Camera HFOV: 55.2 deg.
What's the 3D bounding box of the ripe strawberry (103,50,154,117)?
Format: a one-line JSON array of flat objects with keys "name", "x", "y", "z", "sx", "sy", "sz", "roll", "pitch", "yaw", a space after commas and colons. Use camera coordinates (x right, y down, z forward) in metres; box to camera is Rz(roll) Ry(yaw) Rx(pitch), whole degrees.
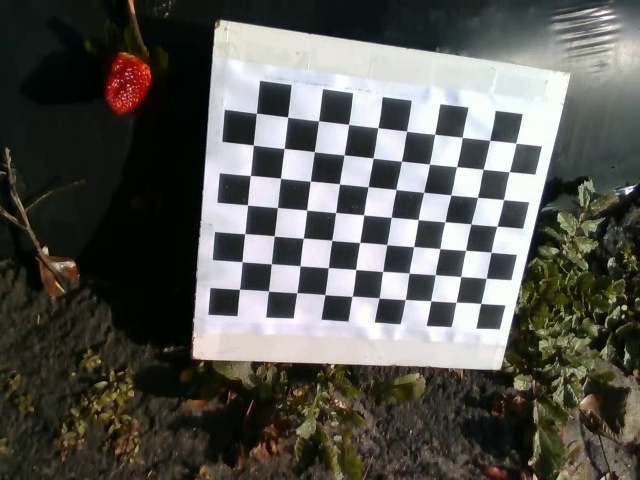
[{"name": "ripe strawberry", "x": -0.051, "y": -0.041, "z": 0.157, "sx": 0.015, "sy": 0.023, "sz": 0.015, "roll": 12, "pitch": -37, "yaw": -15}]
